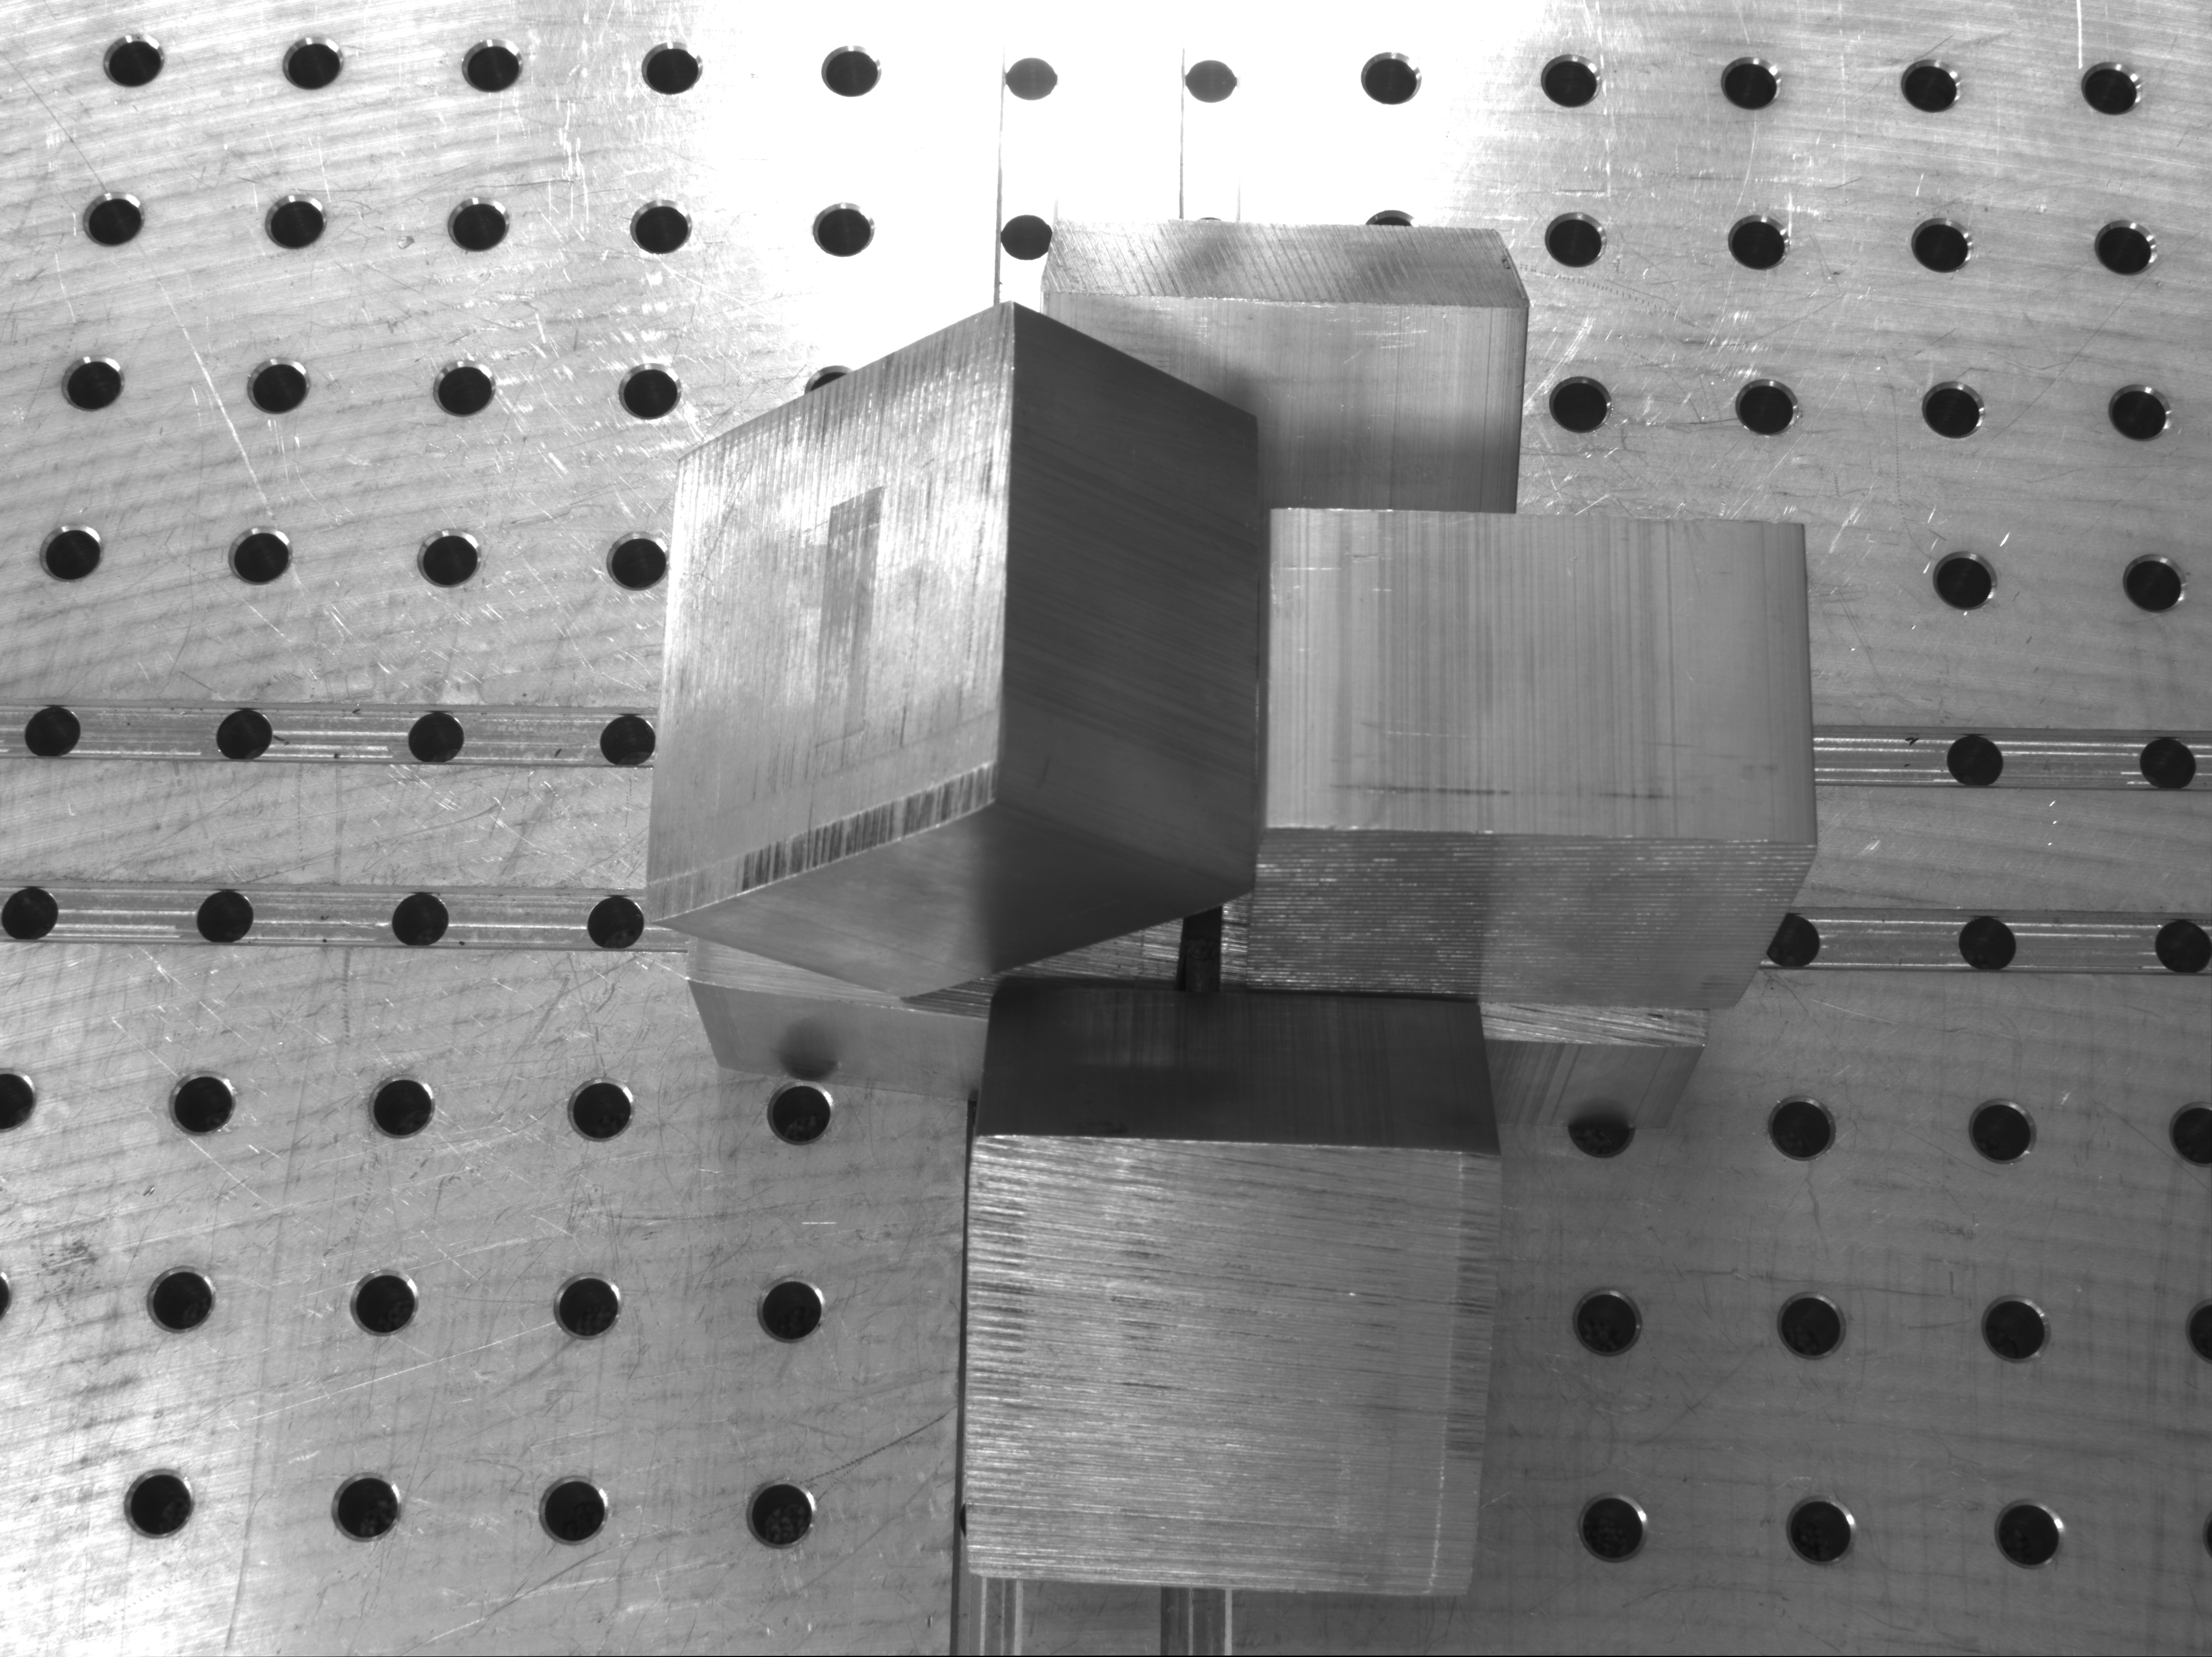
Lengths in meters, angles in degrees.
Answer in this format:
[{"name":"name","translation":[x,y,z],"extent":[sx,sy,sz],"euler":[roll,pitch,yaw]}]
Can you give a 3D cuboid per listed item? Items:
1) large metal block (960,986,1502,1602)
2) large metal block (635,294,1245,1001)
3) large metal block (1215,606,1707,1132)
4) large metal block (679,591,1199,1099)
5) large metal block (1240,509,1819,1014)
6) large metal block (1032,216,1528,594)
[{"name":"large metal block","translation":[0.019,0.074,0.586],"extent":[0.080,0.050,0.080],"euler":[2,114,1]},{"name":"large metal block","translation":[-0.025,-0.025,0.566],"extent":[0.080,0.050,0.080],"euler":[-18,63,42]},{"name":"large metal block","translation":[0.060,0.005,0.632],"extent":[0.080,0.050,0.080],"euler":[3,70,1]},{"name":"large metal block","translation":[-0.025,0.001,0.635],"extent":[0.080,0.050,0.080],"euler":[7,70,3]},{"name":"large metal block","translation":[0.062,-0.008,0.568],"extent":[0.080,0.080,0.050],"euler":[2,70,1]},{"name":"large metal block","translation":[0.029,-0.075,0.638],"extent":[0.080,0.080,0.050],"euler":[2,108,1]}]
